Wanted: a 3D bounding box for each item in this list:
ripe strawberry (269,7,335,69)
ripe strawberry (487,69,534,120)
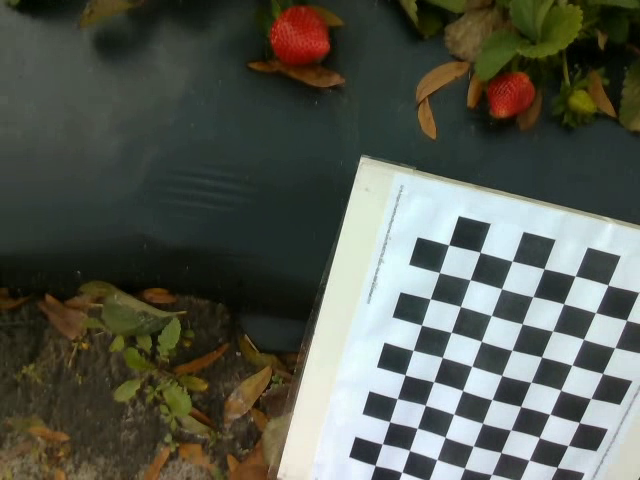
[{"bbox_3d":[-0.008,-0.147,0.394,0.042,0.047,0.065,3,27,-37],"label":"ripe strawberry"},{"bbox_3d":[0.139,-0.102,0.396,0.040,0.042,0.037,25,-30,-4],"label":"ripe strawberry"}]
